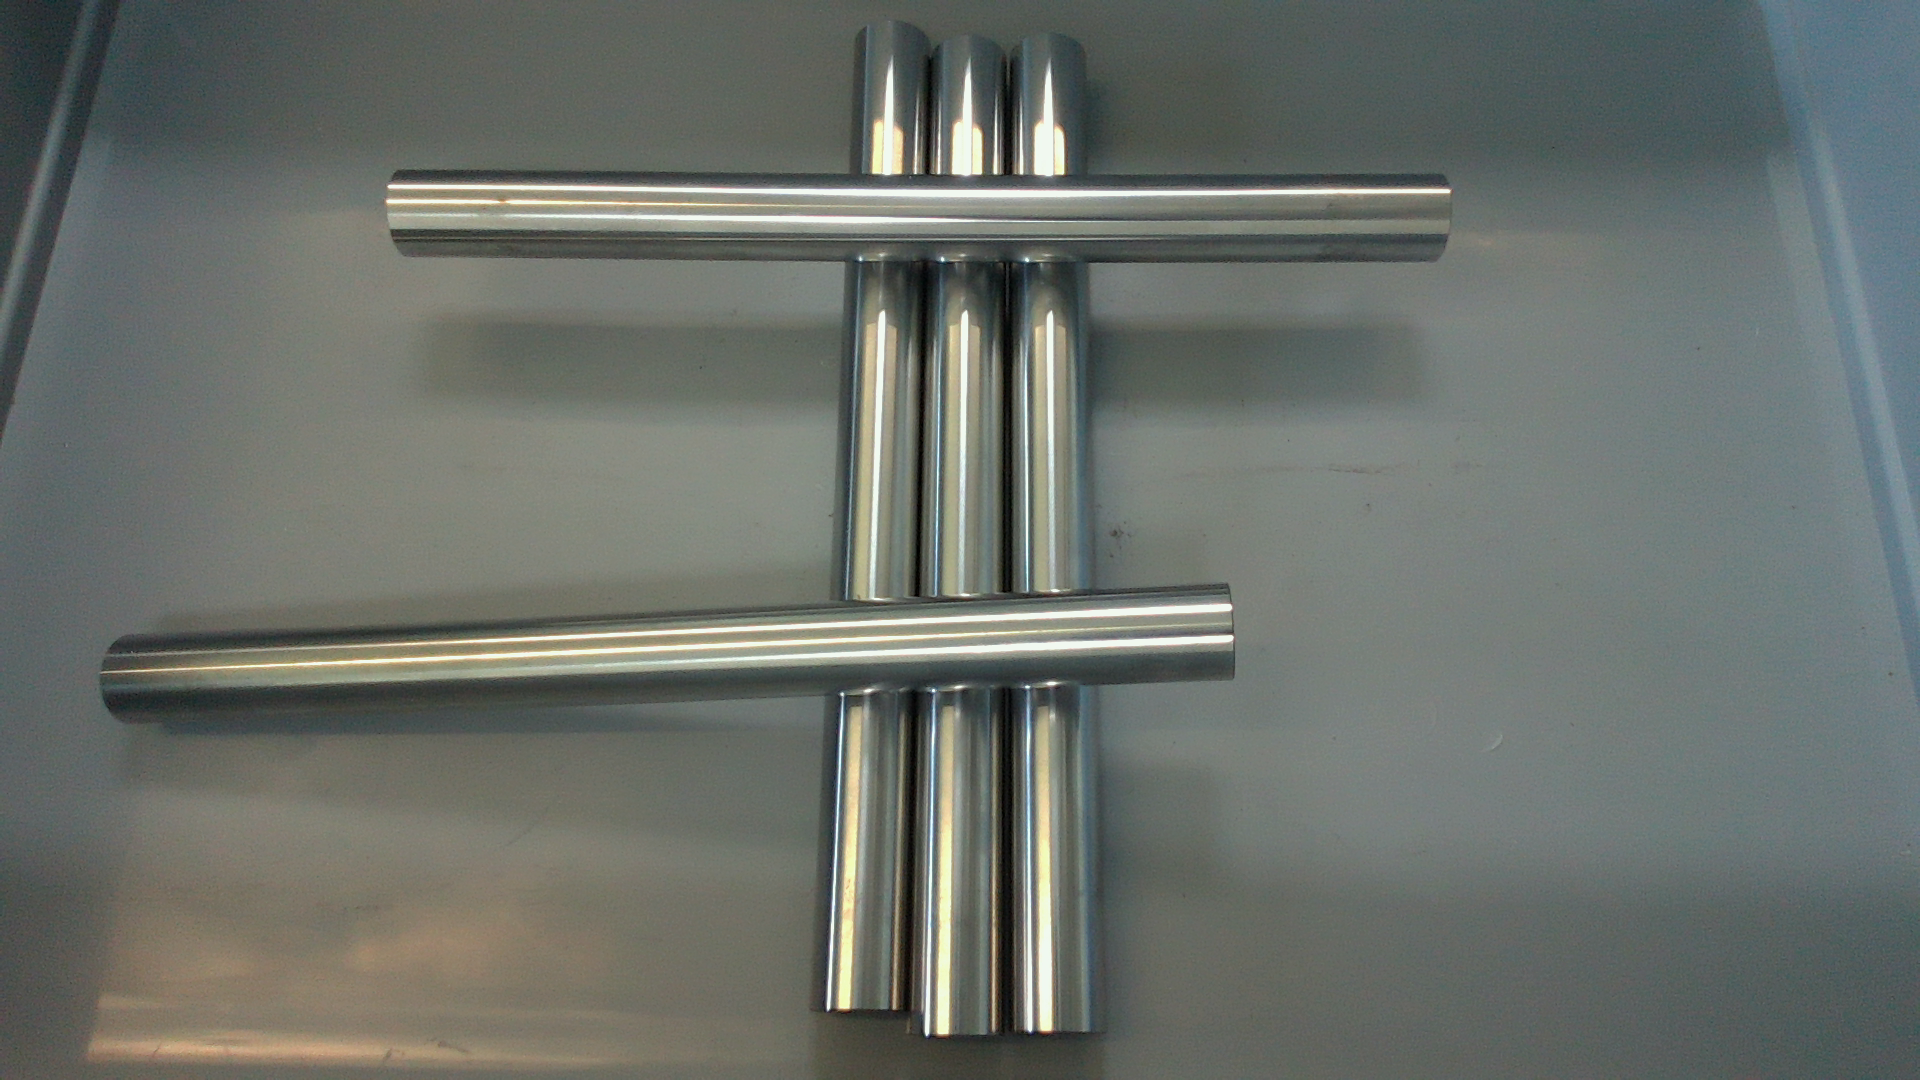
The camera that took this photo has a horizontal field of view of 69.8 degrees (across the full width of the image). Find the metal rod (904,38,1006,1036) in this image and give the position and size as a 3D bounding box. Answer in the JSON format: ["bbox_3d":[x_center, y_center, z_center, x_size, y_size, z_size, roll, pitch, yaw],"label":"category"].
[{"bbox_3d":[0.001,-0.015,0.400,0.025,0.025,0.300,1,70,0],"label":"metal rod"}]

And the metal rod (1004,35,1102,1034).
[{"bbox_3d":[0.026,-0.016,0.399,0.025,0.025,0.300,1,70,0],"label":"metal rod"}]

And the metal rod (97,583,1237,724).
[{"bbox_3d":[-0.080,0.031,0.363,0.300,0.025,0.025,-3,70,6],"label":"metal rod"}]

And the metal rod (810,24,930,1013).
[{"bbox_3d":[-0.024,-0.021,0.402,0.025,0.025,0.300,1,70,0],"label":"metal rod"}]

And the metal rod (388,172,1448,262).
[{"bbox_3d":[-0.012,-0.094,0.401,0.300,0.025,0.025,0,70,0],"label":"metal rod"}]
